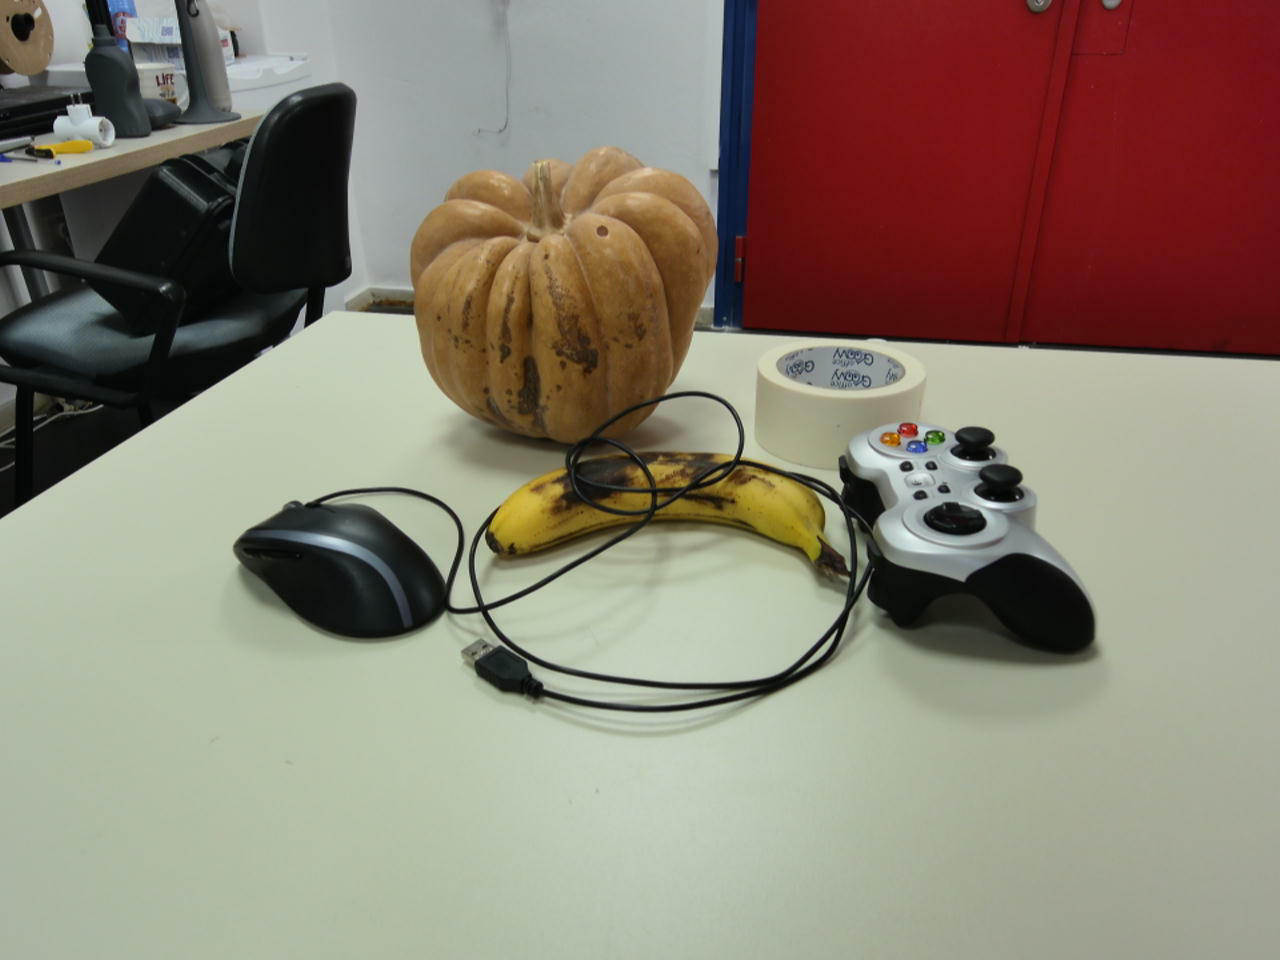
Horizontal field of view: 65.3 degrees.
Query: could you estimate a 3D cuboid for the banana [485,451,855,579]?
[{"bbox_3d":[0.019,0.015,0.539,0.187,0.039,0.094,5,26,9],"label":"banana"}]
